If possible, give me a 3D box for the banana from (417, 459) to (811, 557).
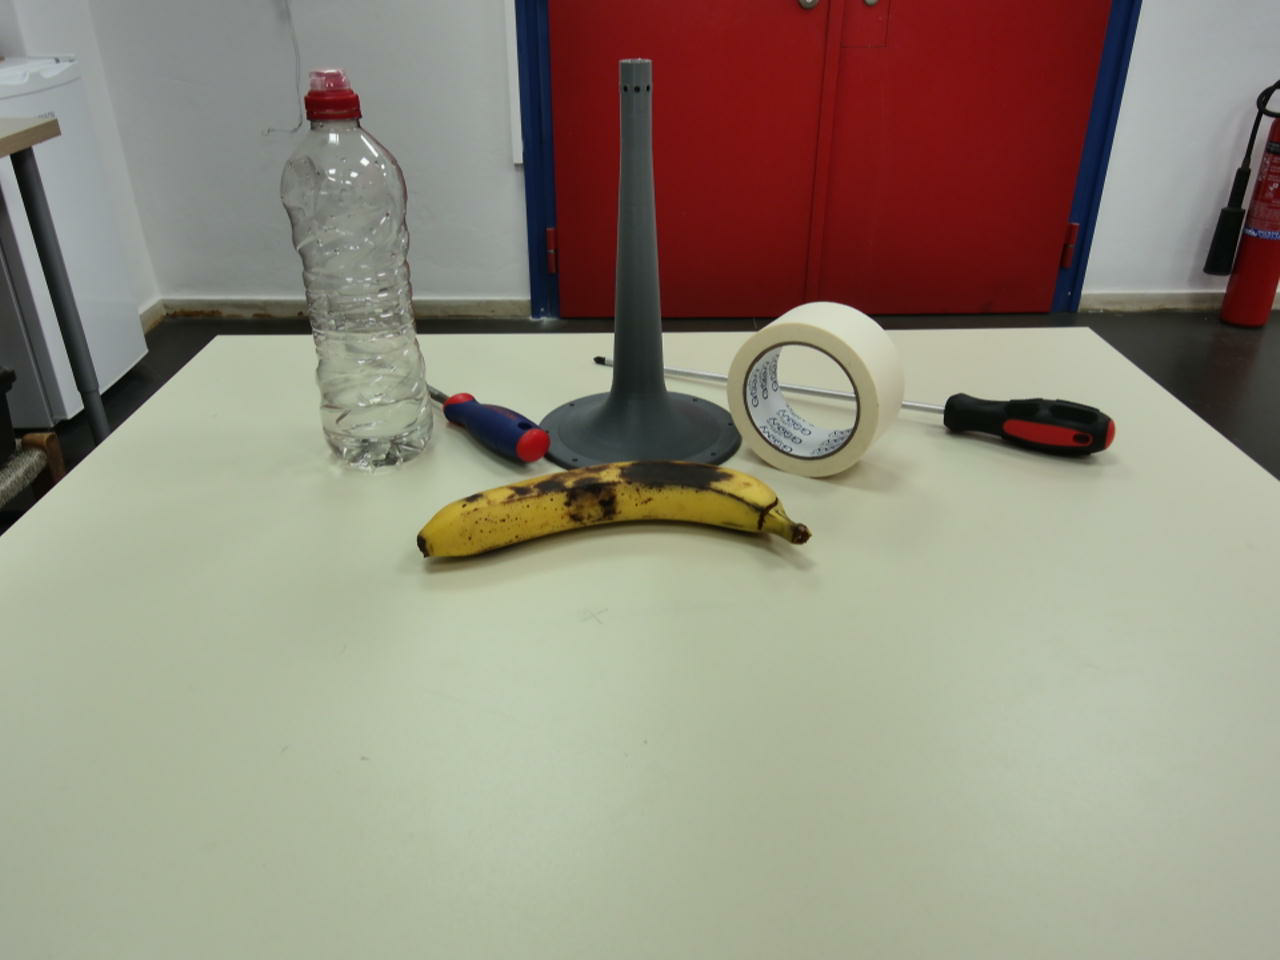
[{"bbox_3d":[-0.015,0.016,0.598,0.222,0.037,0.084,0,26,0],"label":"banana"}]
